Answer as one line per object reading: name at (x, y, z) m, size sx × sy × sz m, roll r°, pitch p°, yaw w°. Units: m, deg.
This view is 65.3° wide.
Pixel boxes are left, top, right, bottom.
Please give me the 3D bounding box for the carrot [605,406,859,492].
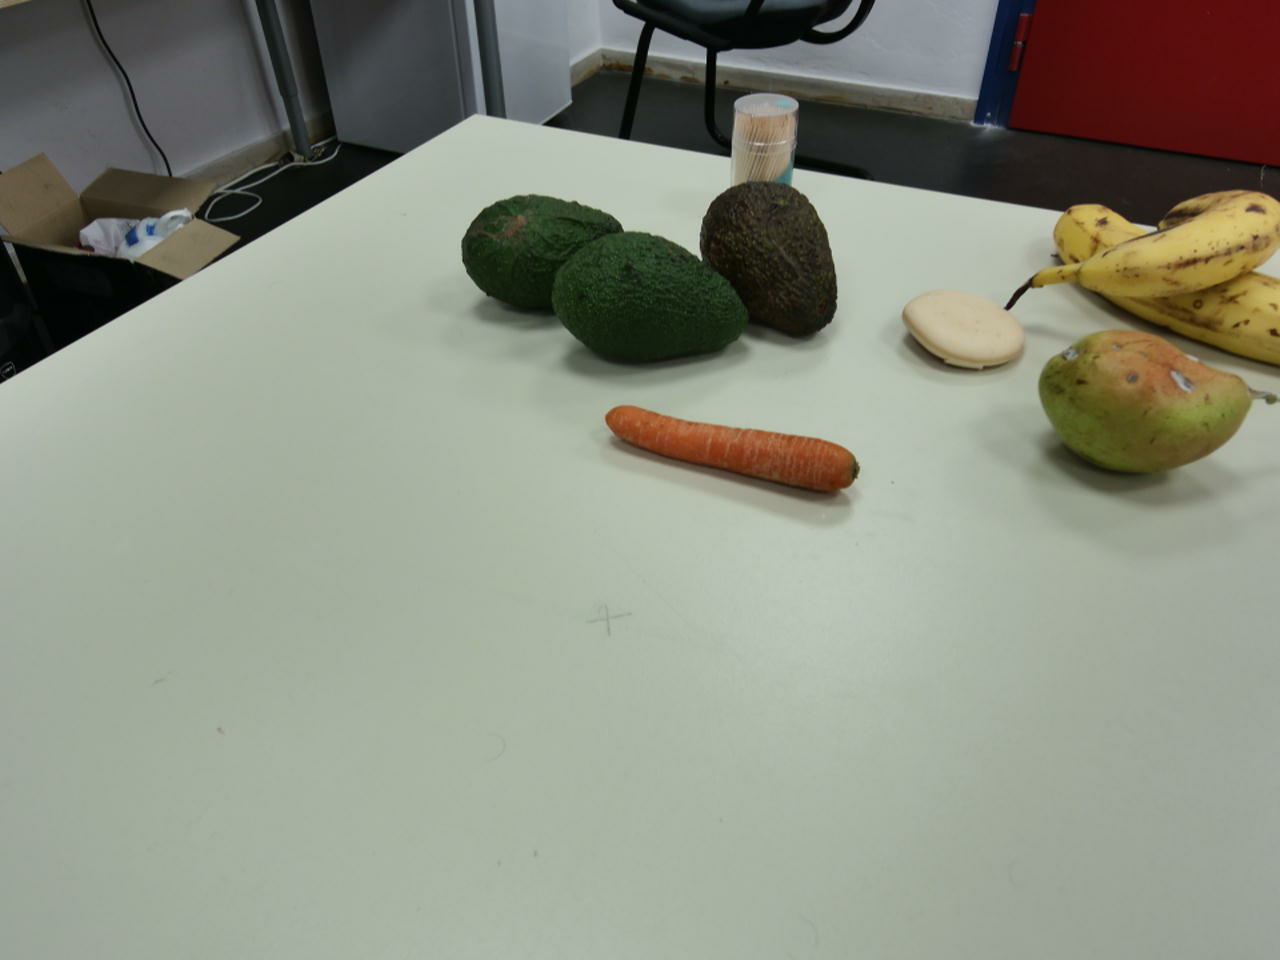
carrot at (0.040, -0.017, 0.460) m, size 0.122 × 0.023 × 0.024 m, roll 15°, pitch 40°, yaw 19°
